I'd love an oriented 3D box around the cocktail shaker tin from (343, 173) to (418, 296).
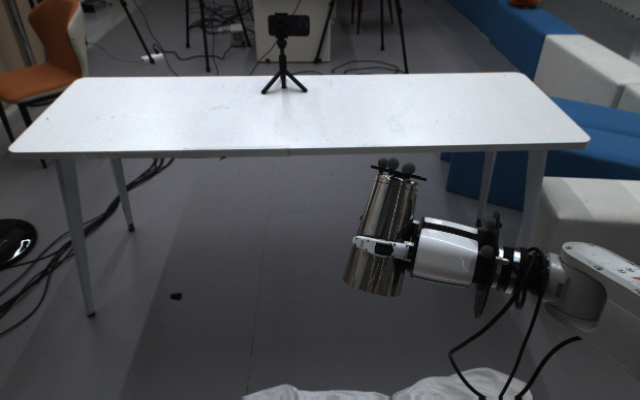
[{"bbox_3d":[0.099,0.049,0.739,0.093,0.170,0.093,13,4,-1],"label":"cocktail shaker tin"}]
